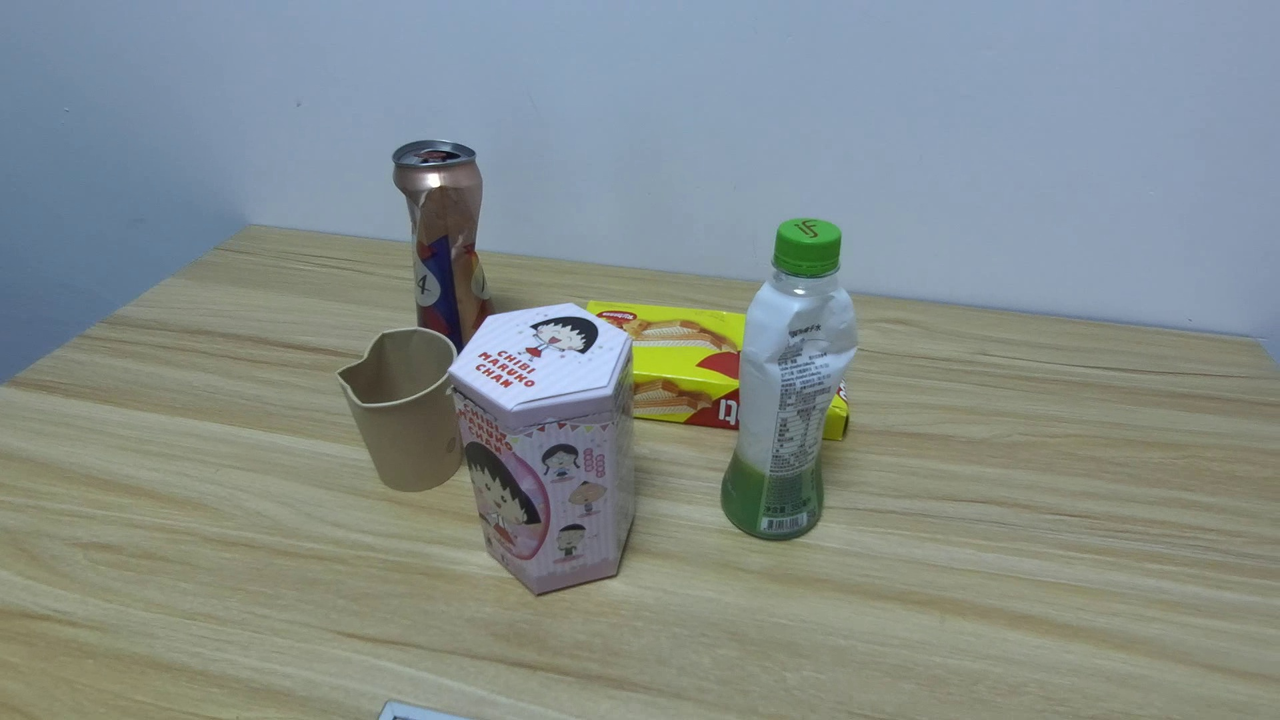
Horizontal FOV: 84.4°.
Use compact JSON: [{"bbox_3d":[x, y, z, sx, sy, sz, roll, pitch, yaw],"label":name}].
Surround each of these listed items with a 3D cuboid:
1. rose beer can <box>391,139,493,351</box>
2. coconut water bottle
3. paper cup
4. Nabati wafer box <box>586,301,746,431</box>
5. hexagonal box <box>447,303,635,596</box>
[{"bbox_3d":[-0.138,-0.071,0.522,0.065,0.167,0.075,-5,31,-11],"label":"rose beer can"},{"bbox_3d":[0.081,0.014,0.385,0.067,0.187,0.067,0,35,1],"label":"coconut water bottle"},{"bbox_3d":[-0.146,0.035,0.451,0.069,0.081,0.073,-24,42,-31],"label":"paper cup"},{"bbox_3d":[0.050,0.004,0.524,0.203,0.042,0.096,7,33,6],"label":"Nabati wafer box"},{"bbox_3d":[-0.047,0.050,0.380,0.091,0.136,0.084,28,43,33],"label":"hexagonal box"}]
